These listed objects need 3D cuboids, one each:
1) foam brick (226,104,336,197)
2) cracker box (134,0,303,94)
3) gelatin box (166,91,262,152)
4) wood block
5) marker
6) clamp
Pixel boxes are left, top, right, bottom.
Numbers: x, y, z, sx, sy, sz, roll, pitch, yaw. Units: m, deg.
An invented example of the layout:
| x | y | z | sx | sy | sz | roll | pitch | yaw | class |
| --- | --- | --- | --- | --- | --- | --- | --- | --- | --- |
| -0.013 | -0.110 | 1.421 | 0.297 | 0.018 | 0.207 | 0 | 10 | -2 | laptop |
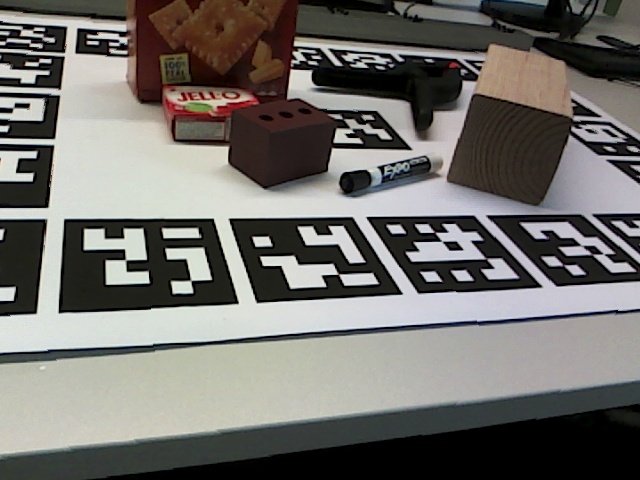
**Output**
| x | y | z | sx | sy | sz | roll | pitch | yaw | class |
| --- | --- | --- | --- | --- | --- | --- | --- | --- | --- |
| -0.035 | -0.080 | 0.540 | 0.077 | 0.051 | 0.053 | -22 | 48 | -37 | foam brick |
| -0.099 | -0.256 | 0.620 | 0.163 | 0.213 | 0.072 | -4 | 37 | -23 | cracker box |
| -0.100 | -0.116 | 0.597 | 0.089 | 0.030 | 0.074 | -4 | 39 | -19 | gelatin box |
| 0.194 | -0.126 | 0.637 | 0.090 | 0.091 | 0.206 | 16 | 33 | 11 | wood block |
| 0.056 | -0.054 | 0.554 | 0.120 | 0.019 | 0.020 | -18 | 46 | -34 | marker |
| 0.111 | -0.195 | 0.752 | 0.166 | 0.036 | 0.202 | 34 | 42 | 28 | clamp |
